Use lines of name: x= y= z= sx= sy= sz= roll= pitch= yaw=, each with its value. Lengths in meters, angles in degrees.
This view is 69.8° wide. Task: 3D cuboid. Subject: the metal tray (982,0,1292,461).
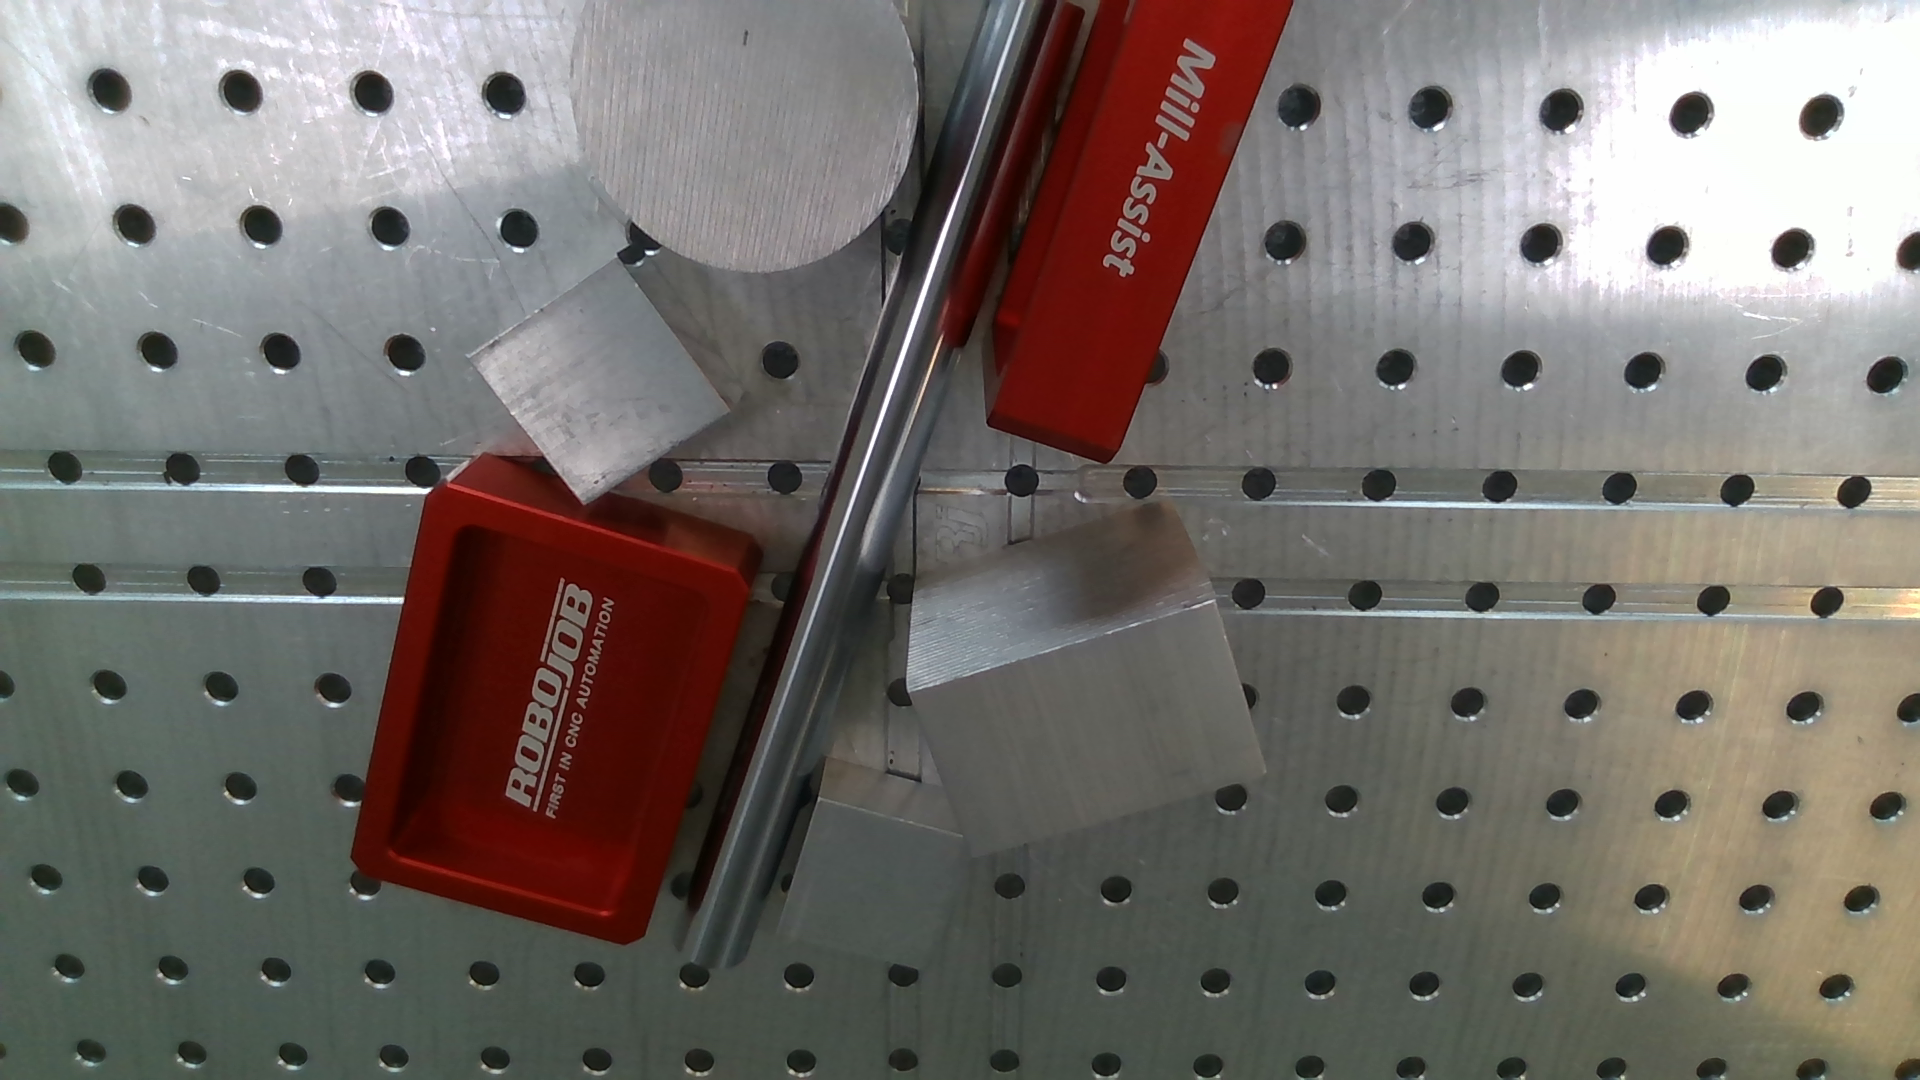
metal tray: x=0.040 y=-0.094 z=0.326 sx=0.030 sy=0.090 sz=0.130 roll=18 pitch=109 yaw=-6

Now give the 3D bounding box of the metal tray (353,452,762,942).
metal tray: x=-0.121 y=0.049 z=0.411 sx=0.090 sy=0.030 sz=0.130 roll=17 pitch=109 yaw=-6

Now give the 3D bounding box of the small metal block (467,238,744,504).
small metal block: x=-0.096 y=-0.047 z=0.380 sx=0.050 sy=0.025 sz=0.050 roll=-31 pitch=107 yaw=11

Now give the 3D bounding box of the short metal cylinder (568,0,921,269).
short metal cylinder: x=-0.050 y=-0.111 z=0.341 sx=0.080 sy=0.050 sz=0.080 roll=0 pitch=110 yaw=0

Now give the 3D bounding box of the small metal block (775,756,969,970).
small metal block: x=-0.026 y=0.102 z=0.433 sx=0.050 sy=0.025 sz=0.050 roll=16 pitch=109 yaw=-6

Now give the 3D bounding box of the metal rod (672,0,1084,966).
metal rod: x=-0.031 y=-0.004 z=0.394 sx=0.025 sy=0.025 sz=0.301 roll=18 pitch=109 yaw=-7

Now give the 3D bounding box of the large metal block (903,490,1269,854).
large metal block: x=0.032 y=0.033 z=0.380 sx=0.080 sy=0.080 sz=0.050 roll=-17 pitch=109 yaw=6
